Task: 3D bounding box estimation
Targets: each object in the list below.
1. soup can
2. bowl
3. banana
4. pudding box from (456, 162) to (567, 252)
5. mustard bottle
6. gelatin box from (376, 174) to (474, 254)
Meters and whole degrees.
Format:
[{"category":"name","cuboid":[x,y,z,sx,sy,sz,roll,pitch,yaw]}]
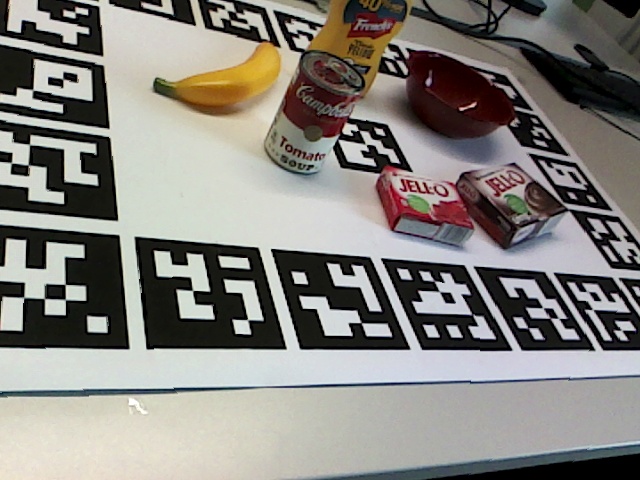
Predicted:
[{"category":"soup can","cuboid":[-0.012,-0.128,0.607,0.067,0.102,0.068,19,37,-16]},{"category":"bowl","cuboid":[0.180,-0.182,0.843,0.161,0.055,0.162,16,40,-14]},{"category":"banana","cuboid":[-0.094,-0.186,0.685,0.074,0.039,0.197,25,37,11]},{"category":"pudding box","cuboid":[0.222,-0.041,0.722,0.113,0.039,0.090,-18,63,-43]},{"category":"mustard bottle","cuboid":[0.058,-0.264,0.725,0.095,0.191,0.059,6,42,-28]},{"category":"gelatin box","cuboid":[0.109,-0.028,0.645,0.089,0.030,0.073,10,45,-22]}]
